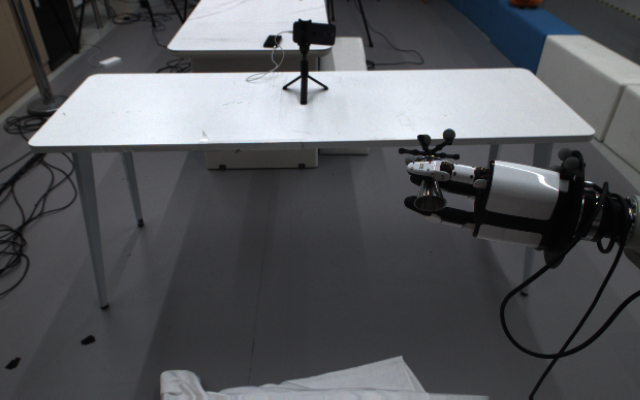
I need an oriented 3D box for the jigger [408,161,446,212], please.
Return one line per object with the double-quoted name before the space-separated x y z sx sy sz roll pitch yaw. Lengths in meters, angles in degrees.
"jigger" 0.153 -0.025 0.686 0.043 0.043 0.071 4 61 3
